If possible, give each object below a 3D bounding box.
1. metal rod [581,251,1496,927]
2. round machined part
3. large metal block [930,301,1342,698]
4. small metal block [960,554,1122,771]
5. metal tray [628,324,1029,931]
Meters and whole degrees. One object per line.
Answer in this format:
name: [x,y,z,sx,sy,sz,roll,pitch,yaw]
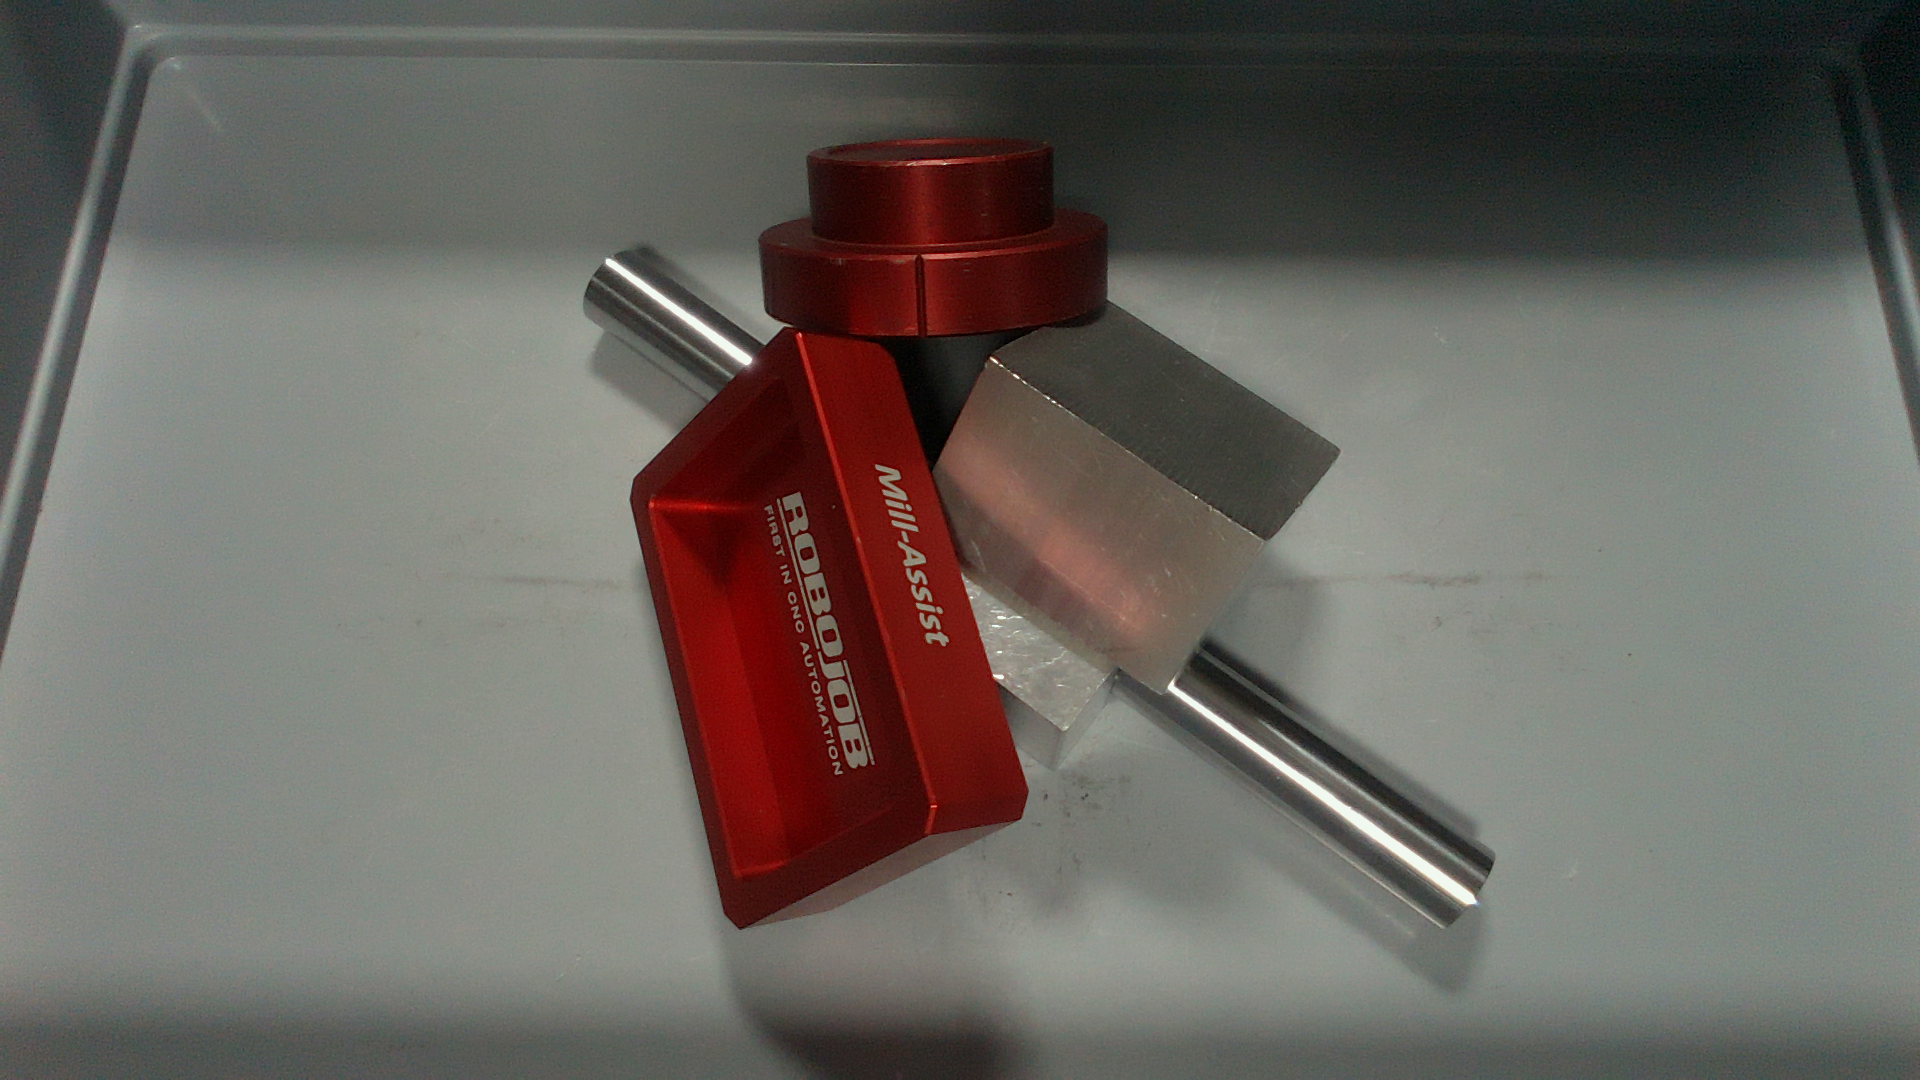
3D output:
metal rod: [0.013,0.007,0.391,0.300,0.025,0.025,35,74,12]
round machined part: [-0.007,-0.088,0.385,0.098,0.098,0.042,-2,110,-1]
large metal block: [0.046,-0.016,0.365,0.080,0.050,0.080,35,31,12]
small metal block: [0.015,0.033,0.368,0.050,0.050,0.025,36,74,12]
metal tray: [-0.039,0.023,0.352,0.030,0.090,0.130,2,63,-43]
